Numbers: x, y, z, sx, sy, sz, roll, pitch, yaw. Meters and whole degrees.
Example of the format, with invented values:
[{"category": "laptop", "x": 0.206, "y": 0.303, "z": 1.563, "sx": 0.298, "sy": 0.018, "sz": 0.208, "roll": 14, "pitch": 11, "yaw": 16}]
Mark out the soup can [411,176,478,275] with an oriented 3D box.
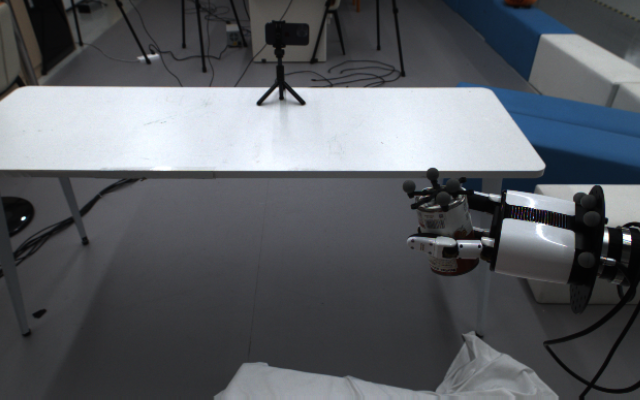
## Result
[{"category": "soup can", "x": 0.170, "y": 0.039, "z": 0.640, "sx": 0.067, "sy": 0.101, "sz": 0.067, "roll": -16, "pitch": 23, "yaw": 7}]
